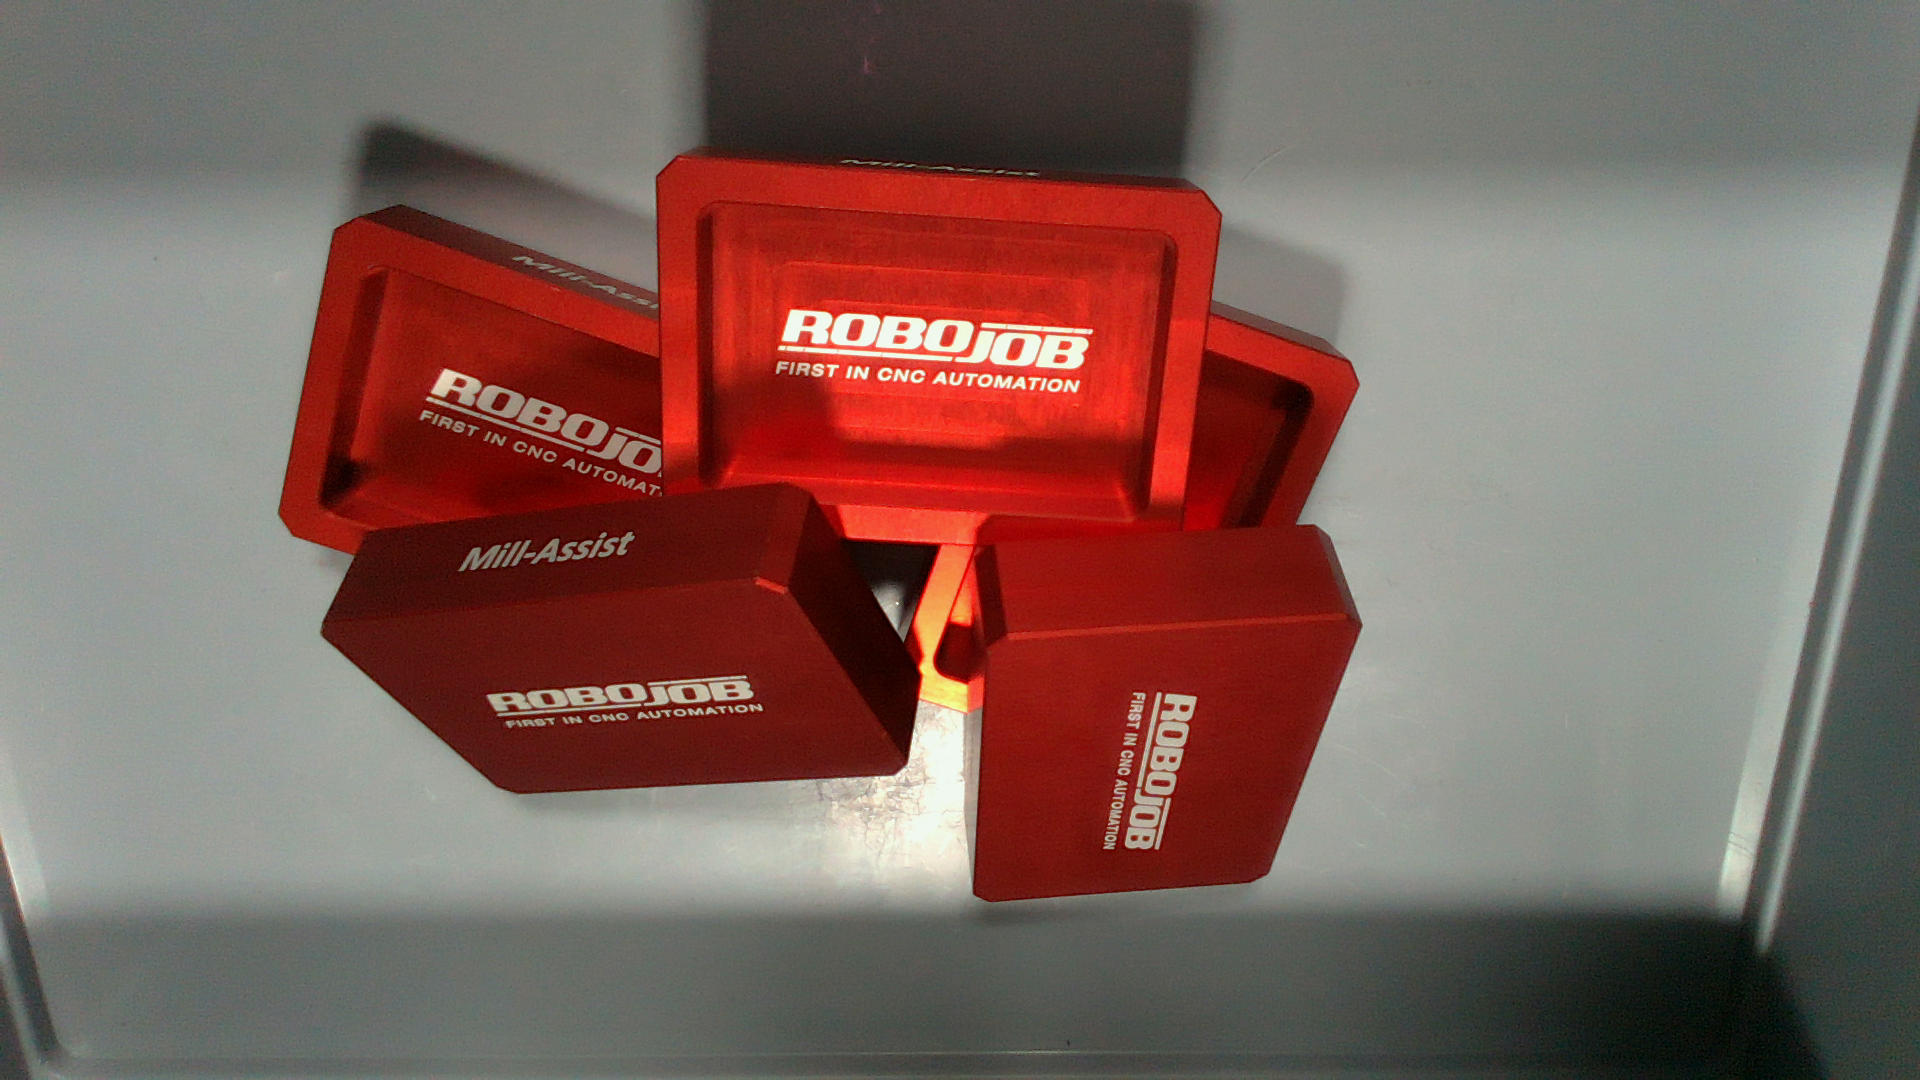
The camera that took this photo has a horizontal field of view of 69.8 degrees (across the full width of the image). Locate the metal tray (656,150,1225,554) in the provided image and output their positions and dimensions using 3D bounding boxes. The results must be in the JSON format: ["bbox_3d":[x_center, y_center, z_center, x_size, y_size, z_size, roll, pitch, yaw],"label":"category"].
[{"bbox_3d":[-0.006,-0.046,0.341,0.130,0.030,0.090,3,110,-1],"label":"metal tray"}]

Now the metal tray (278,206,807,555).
[{"bbox_3d":[-0.109,-0.026,0.378,0.130,0.030,0.090,18,109,-7],"label":"metal tray"}]

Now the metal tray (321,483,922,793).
[{"bbox_3d":[-0.086,0.031,0.365,0.130,0.030,0.090,-6,141,18],"label":"metal tray"}]

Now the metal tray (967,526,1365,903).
[{"bbox_3d":[0.048,0.052,0.375,0.090,0.030,0.130,-3,139,-5],"label":"metal tray"}]

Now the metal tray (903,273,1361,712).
[{"bbox_3d":[0.043,-0.006,0.388,0.090,0.030,0.130,18,109,-7],"label":"metal tray"}]
